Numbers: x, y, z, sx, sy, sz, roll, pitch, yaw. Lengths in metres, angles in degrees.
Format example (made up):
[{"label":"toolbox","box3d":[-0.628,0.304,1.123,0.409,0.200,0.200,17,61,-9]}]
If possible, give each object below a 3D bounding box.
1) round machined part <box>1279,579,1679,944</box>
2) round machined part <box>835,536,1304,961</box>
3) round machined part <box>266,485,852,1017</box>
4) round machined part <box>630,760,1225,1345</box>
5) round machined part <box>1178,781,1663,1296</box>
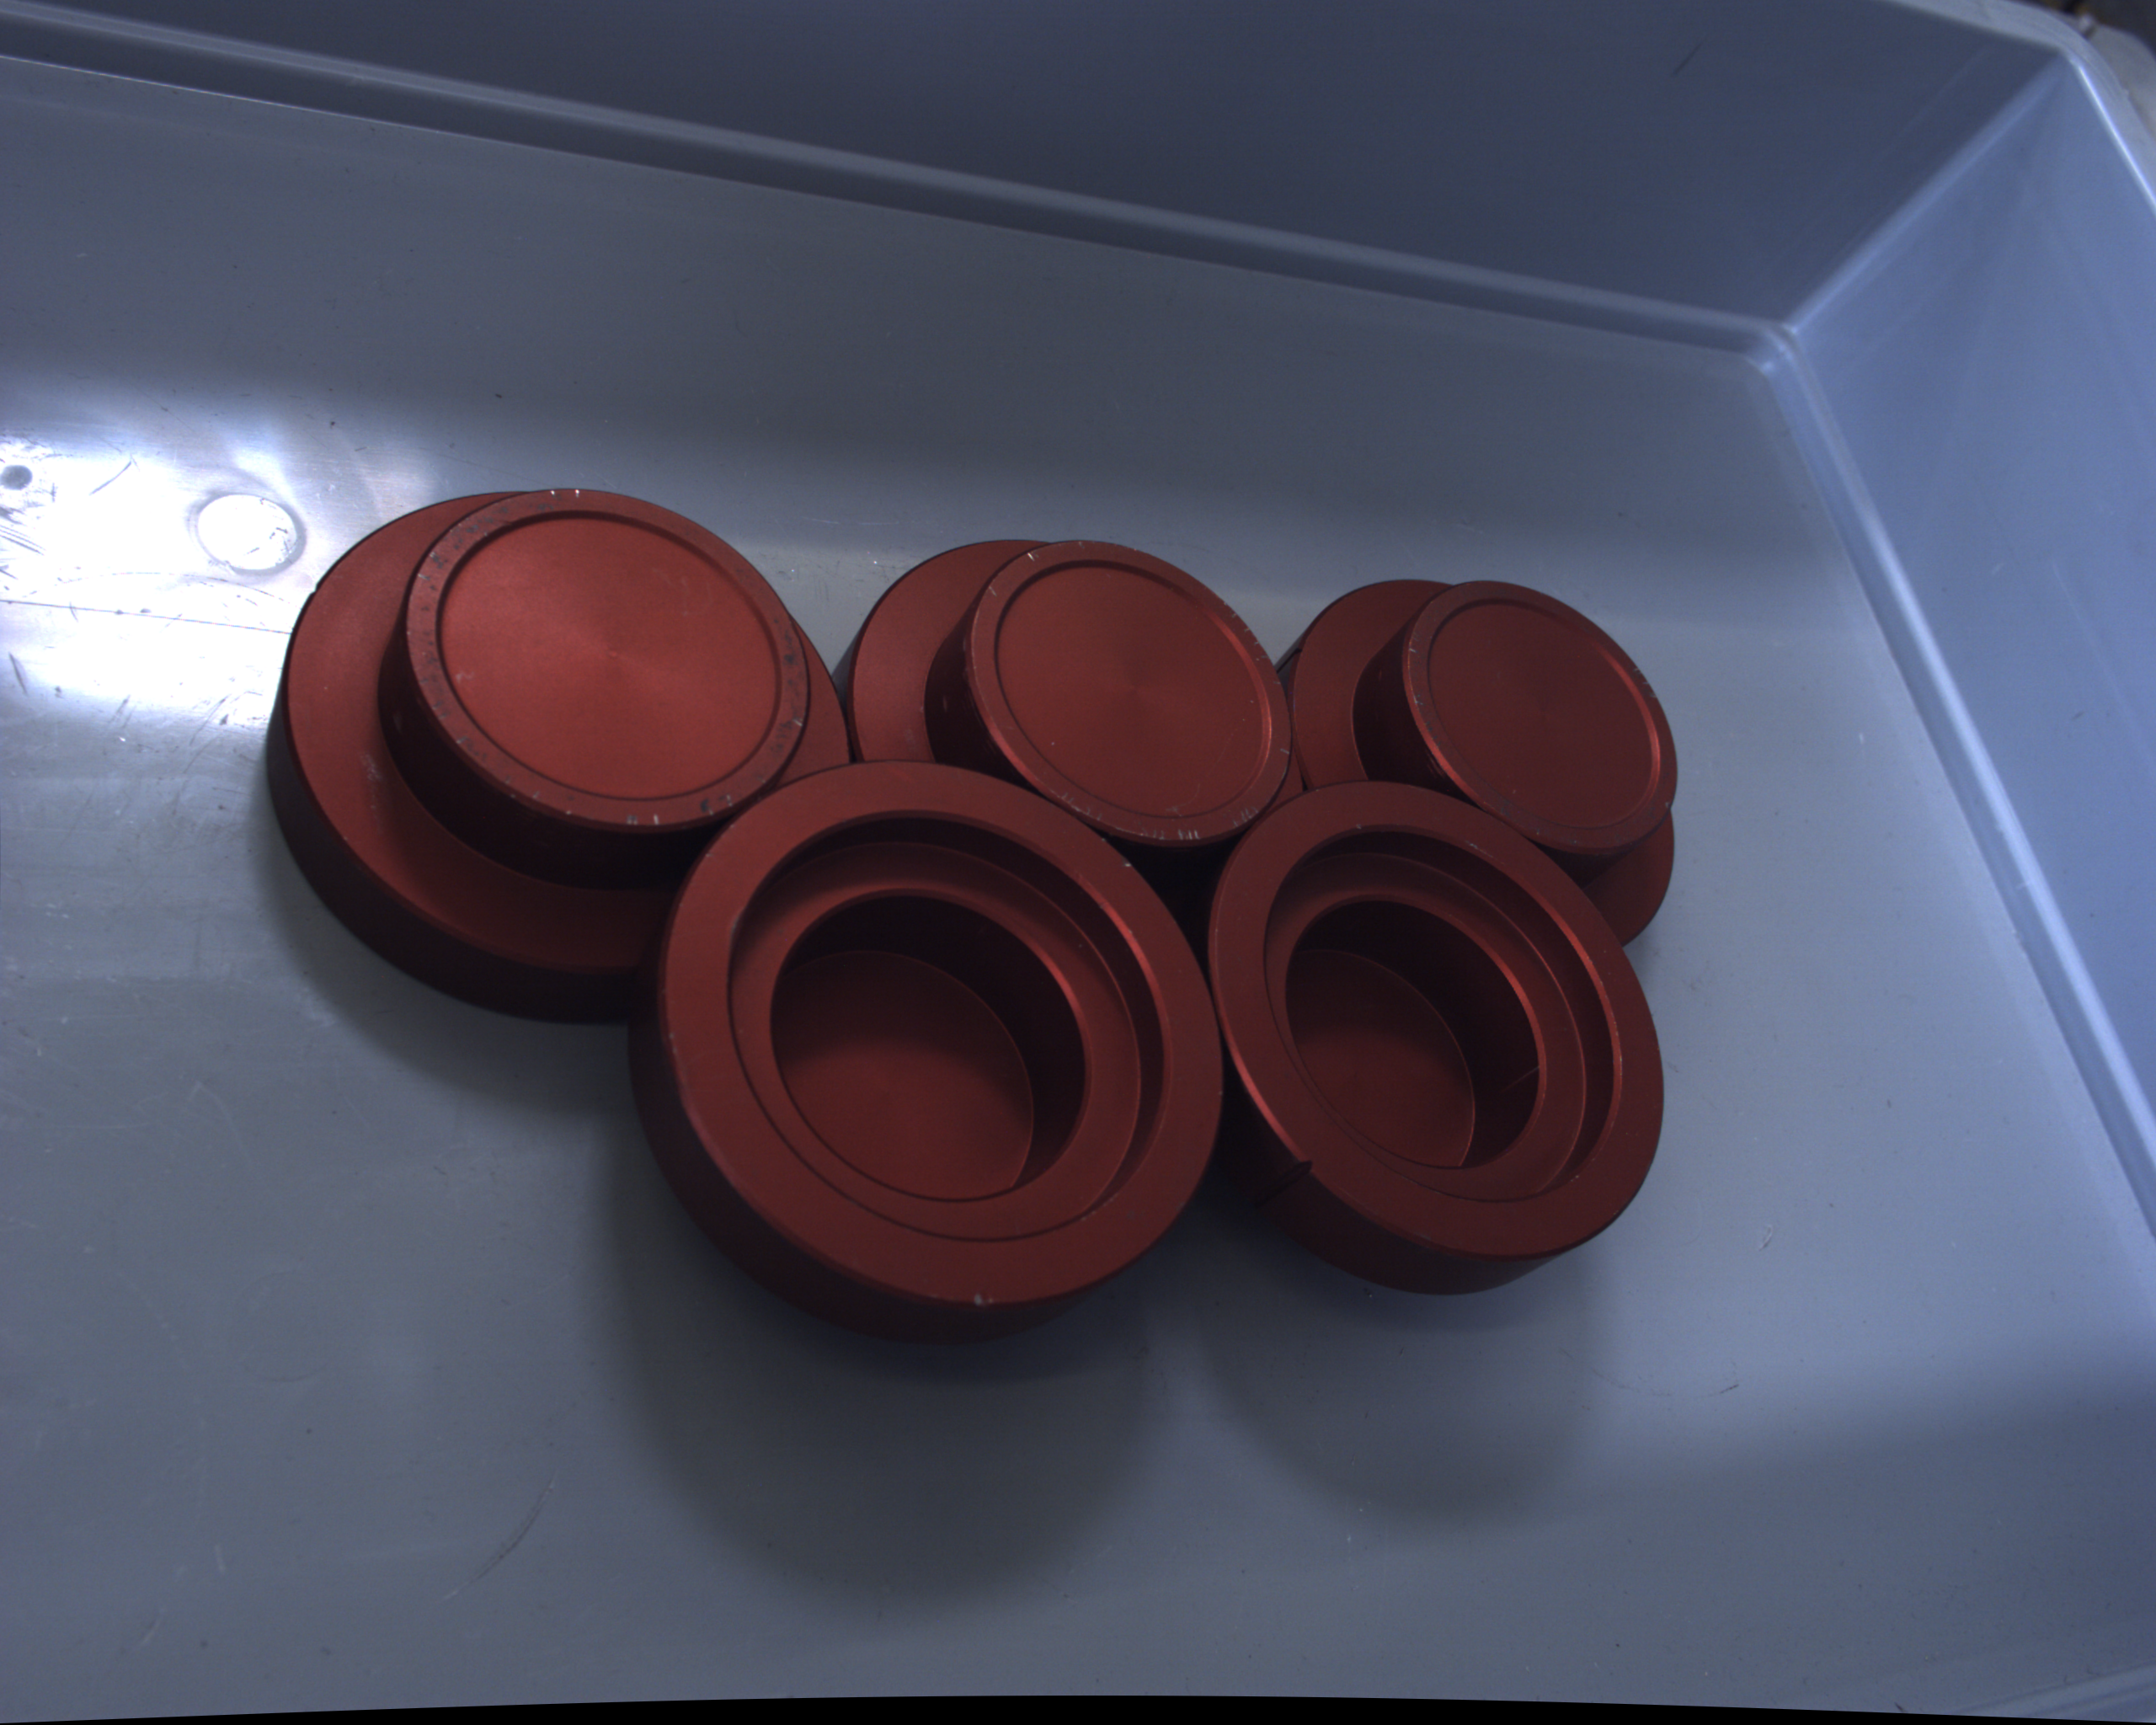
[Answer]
[{"label":"round machined part","box3d":[0.090,-0.022,0.453,0.099,0.042,0.098,13,56,-20]},{"label":"round machined part","box3d":[0.001,-0.024,0.407,0.099,0.042,0.098,13,56,-20]},{"label":"round machined part","box3d":[-0.085,-0.026,0.361,0.099,0.042,0.098,14,55,-21]},{"label":"round machined part","box3d":[-0.028,0.035,0.356,0.099,0.042,0.098,14,56,-21]},{"label":"round machined part","box3d":[0.060,0.036,0.402,0.099,0.042,0.098,14,56,-21]}]
